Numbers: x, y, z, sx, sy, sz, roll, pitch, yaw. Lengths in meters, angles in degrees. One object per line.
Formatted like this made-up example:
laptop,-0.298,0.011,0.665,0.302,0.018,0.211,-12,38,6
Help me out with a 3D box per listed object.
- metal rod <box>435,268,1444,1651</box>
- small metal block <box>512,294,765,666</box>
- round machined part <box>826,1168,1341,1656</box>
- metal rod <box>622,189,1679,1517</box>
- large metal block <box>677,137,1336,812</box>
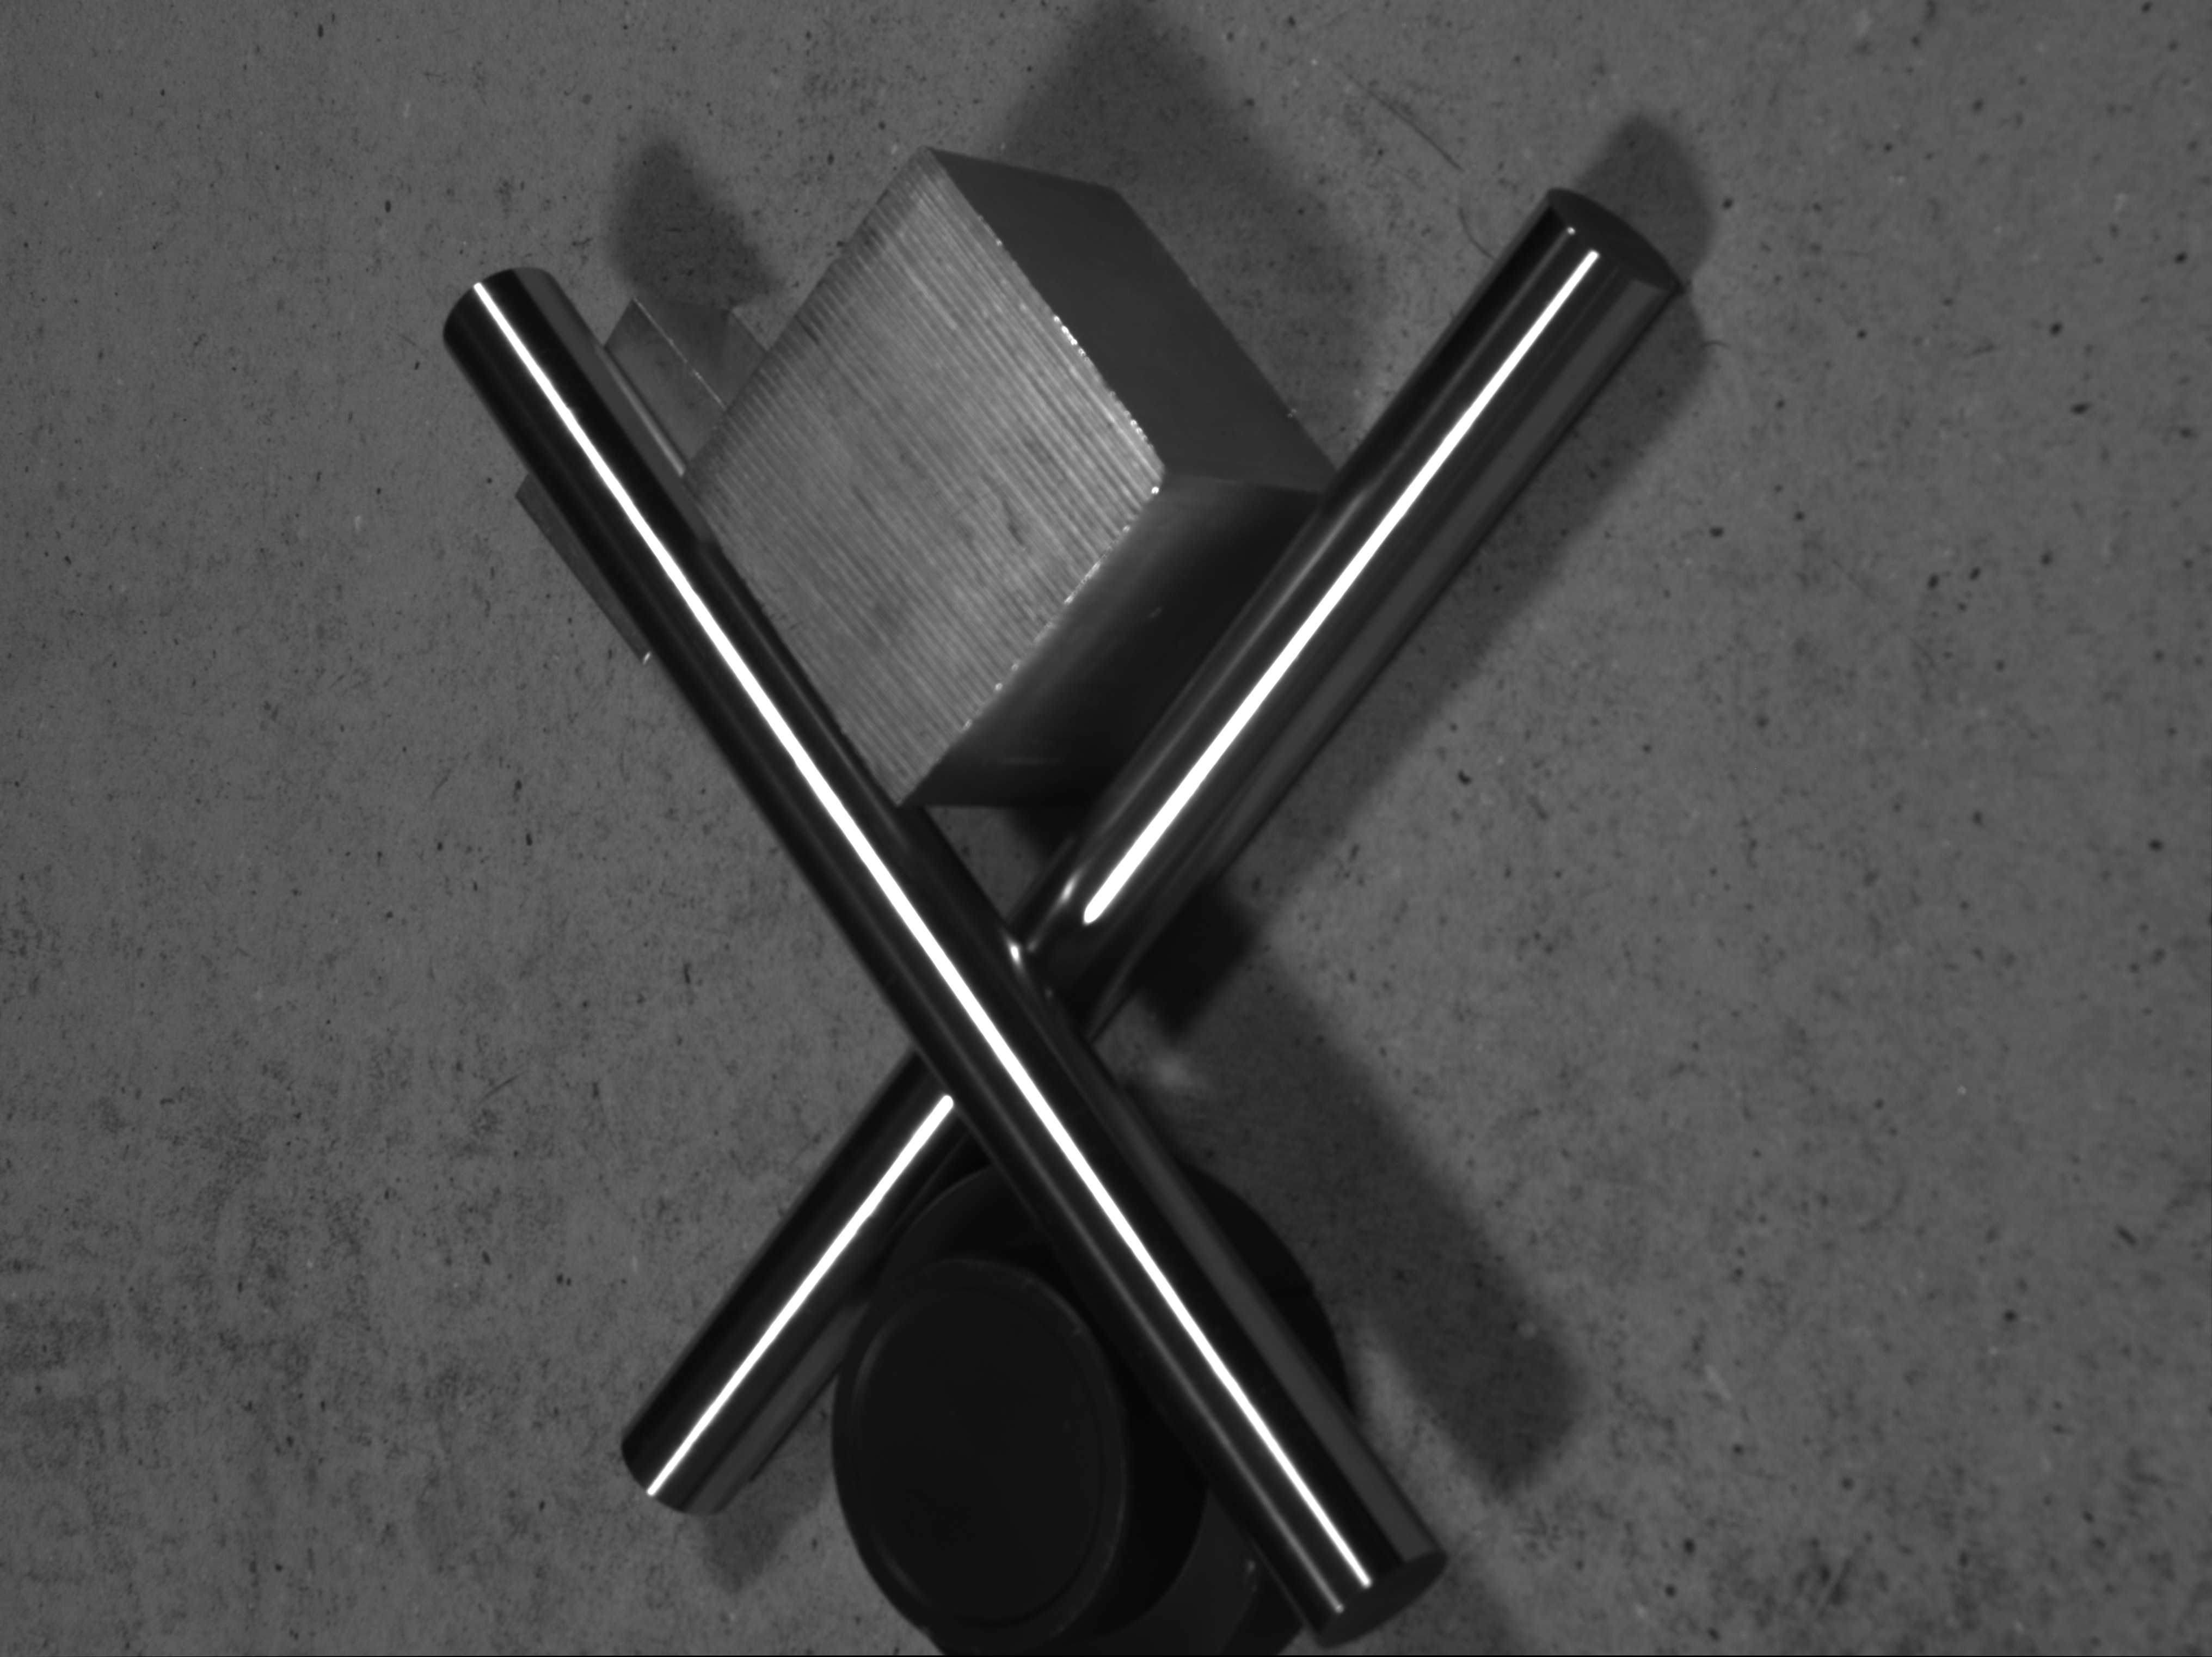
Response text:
metal rod,-0.037,0.011,0.634,0.025,0.025,0.299,-51,61,27
small metal block,-0.081,-0.066,0.705,0.050,0.025,0.050,50,119,28
round machined part,-0.010,0.106,0.633,0.098,0.042,0.098,0,90,39
metal rod,-0.001,0.015,0.639,0.025,0.025,0.300,52,120,27
large metal block,-0.017,-0.060,0.636,0.080,0.050,0.080,-49,61,28
